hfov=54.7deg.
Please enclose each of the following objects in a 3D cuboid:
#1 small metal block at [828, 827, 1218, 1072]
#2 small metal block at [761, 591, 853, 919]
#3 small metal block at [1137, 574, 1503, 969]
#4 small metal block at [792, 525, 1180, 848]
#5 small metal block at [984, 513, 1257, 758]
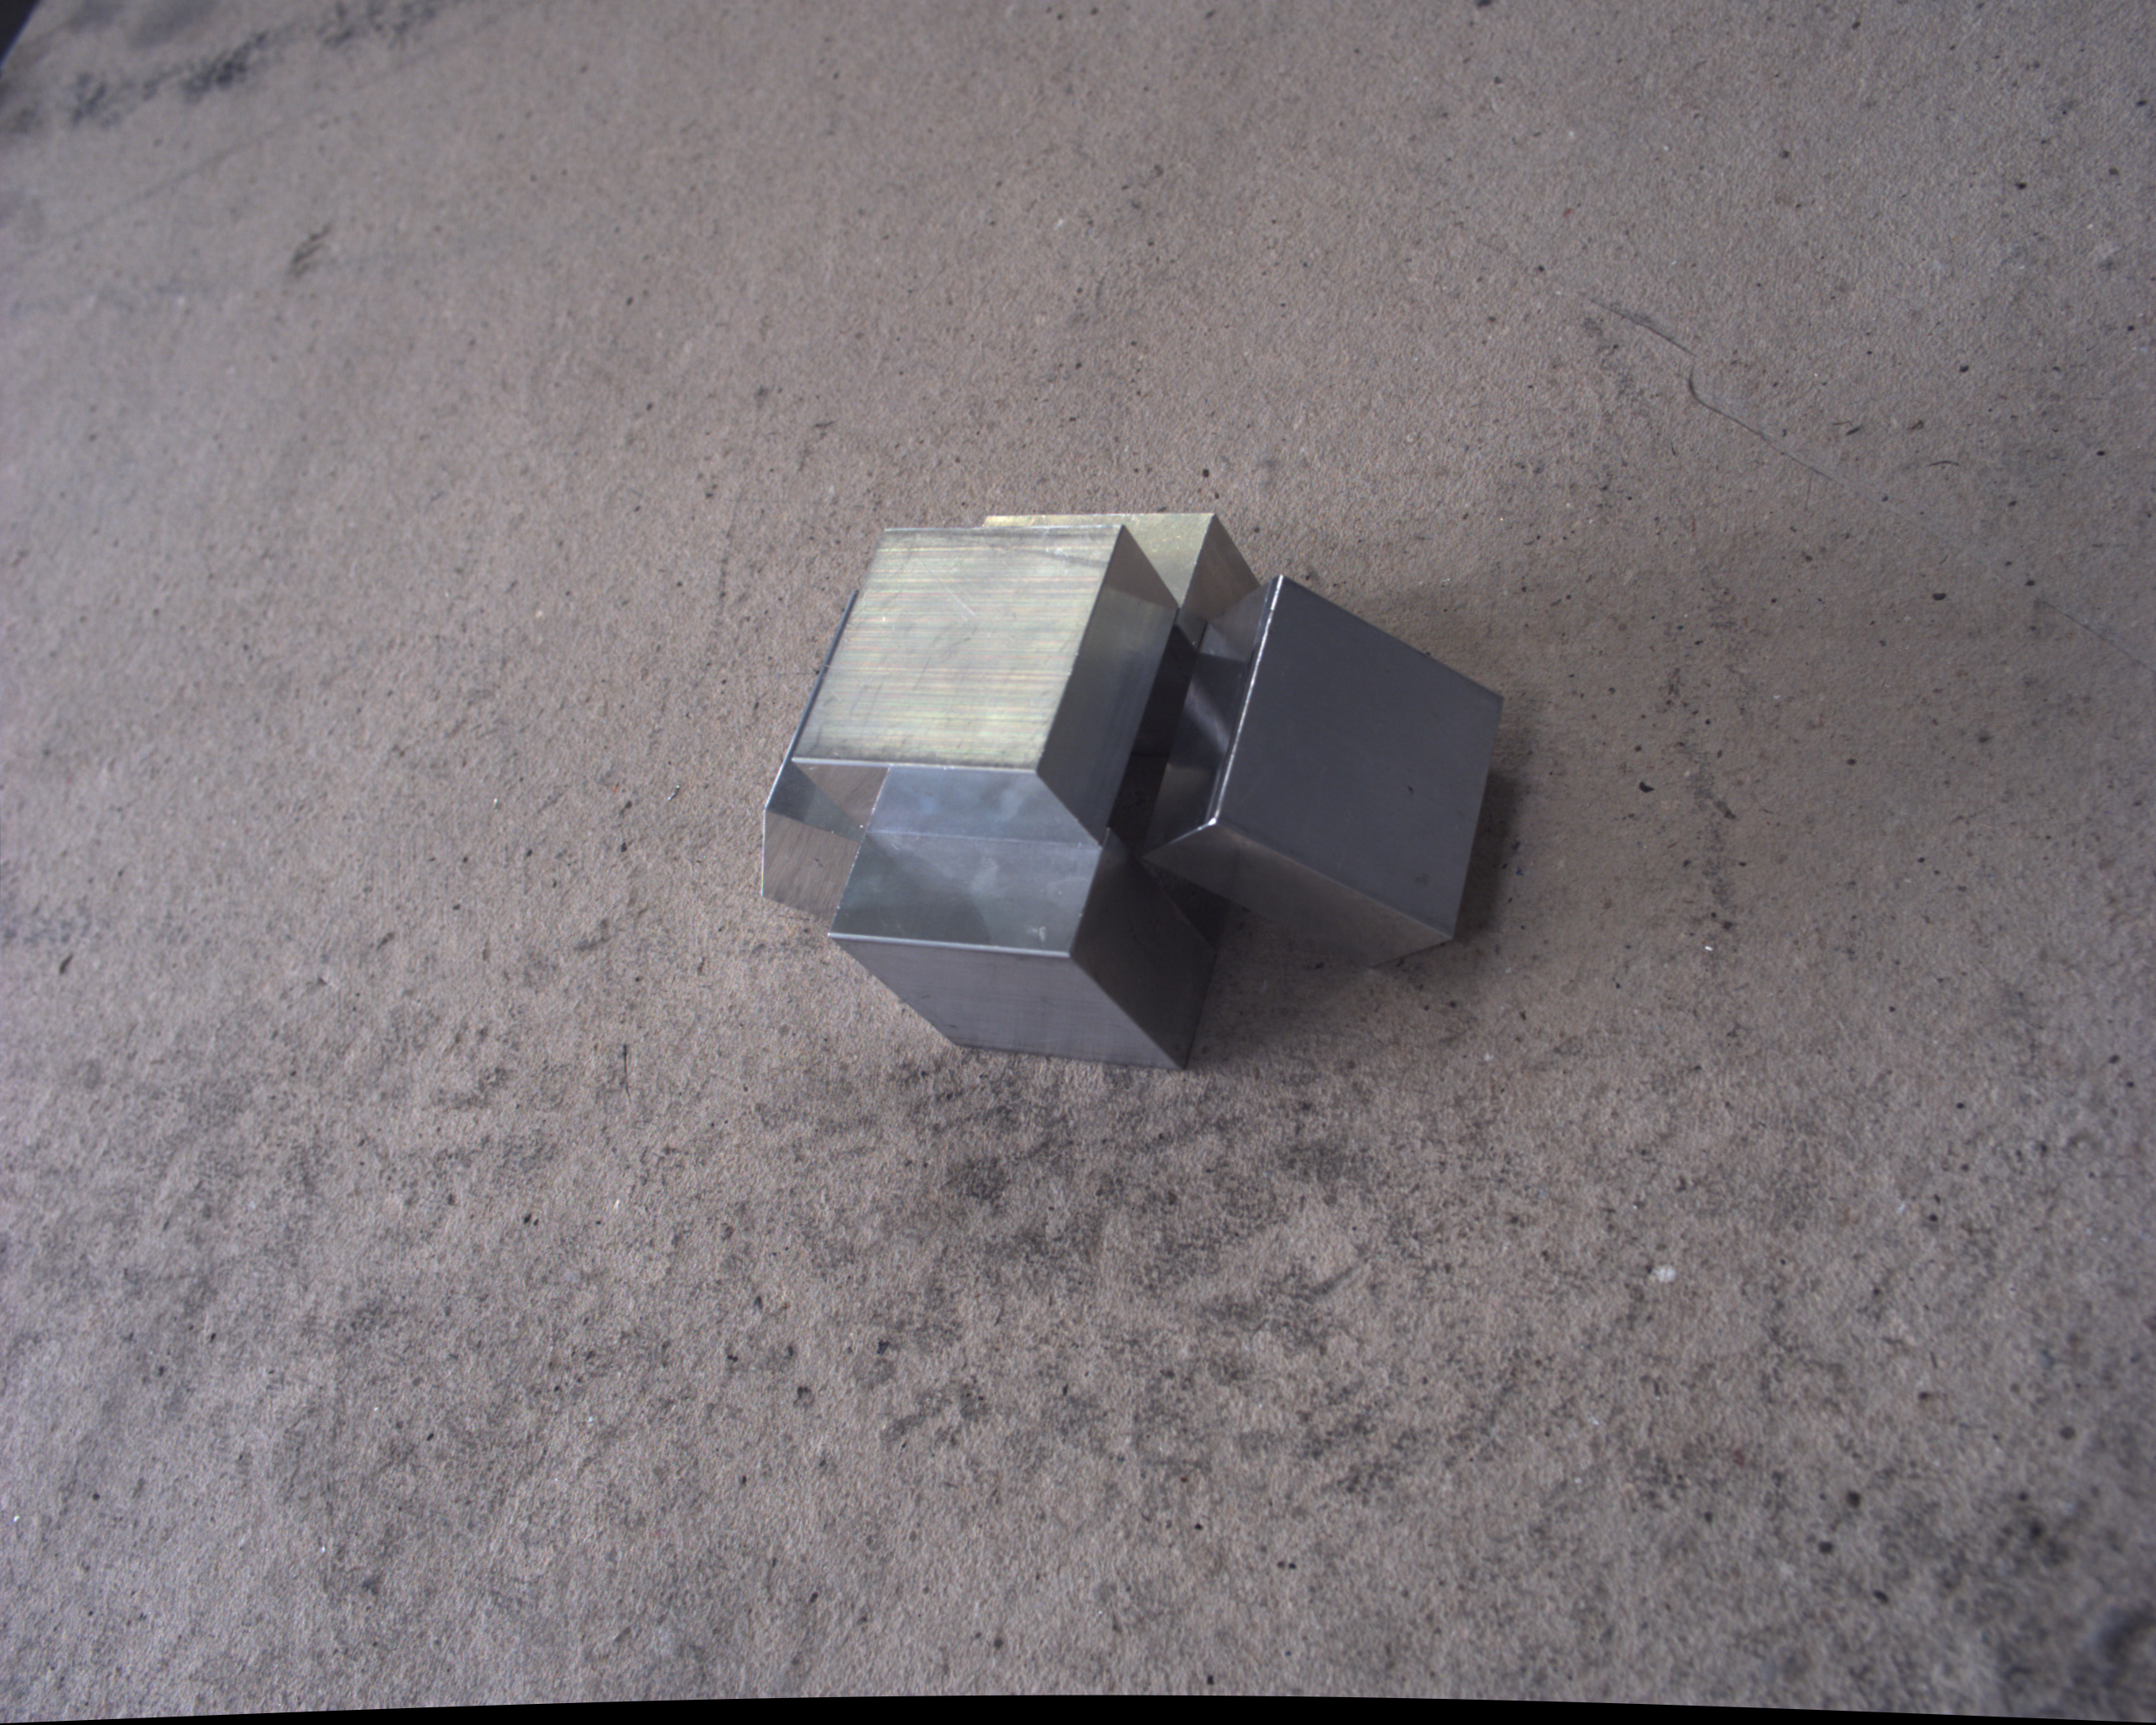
[{"bbox_3d":[-0.009,0.015,0.386,0.050,0.050,0.025,3,64,30],"label":"small metal block"},{"bbox_3d":[-0.043,-0.019,0.421,0.025,0.050,0.050,19,68,-2],"label":"small metal block"},{"bbox_3d":[0.044,-0.015,0.373,0.025,0.050,0.050,-28,42,58],"label":"small metal block"},{"bbox_3d":[-0.016,-0.032,0.370,0.050,0.025,0.050,4,64,30],"label":"small metal block"},{"bbox_3d":[0.010,-0.044,0.411,0.050,0.050,0.025,5,65,30],"label":"small metal block"}]
